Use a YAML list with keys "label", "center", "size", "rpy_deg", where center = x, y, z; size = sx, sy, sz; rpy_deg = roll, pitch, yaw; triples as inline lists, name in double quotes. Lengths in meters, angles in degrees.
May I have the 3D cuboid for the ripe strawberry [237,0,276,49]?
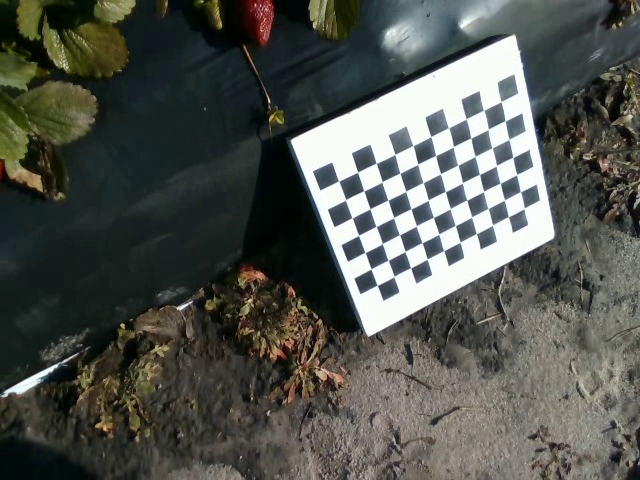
- label: "ripe strawberry"
  center: [-0.056, -0.192, 0.551]
  size: [0.041, 0.053, 0.043]
  rpy_deg: [-17, -19, -18]
